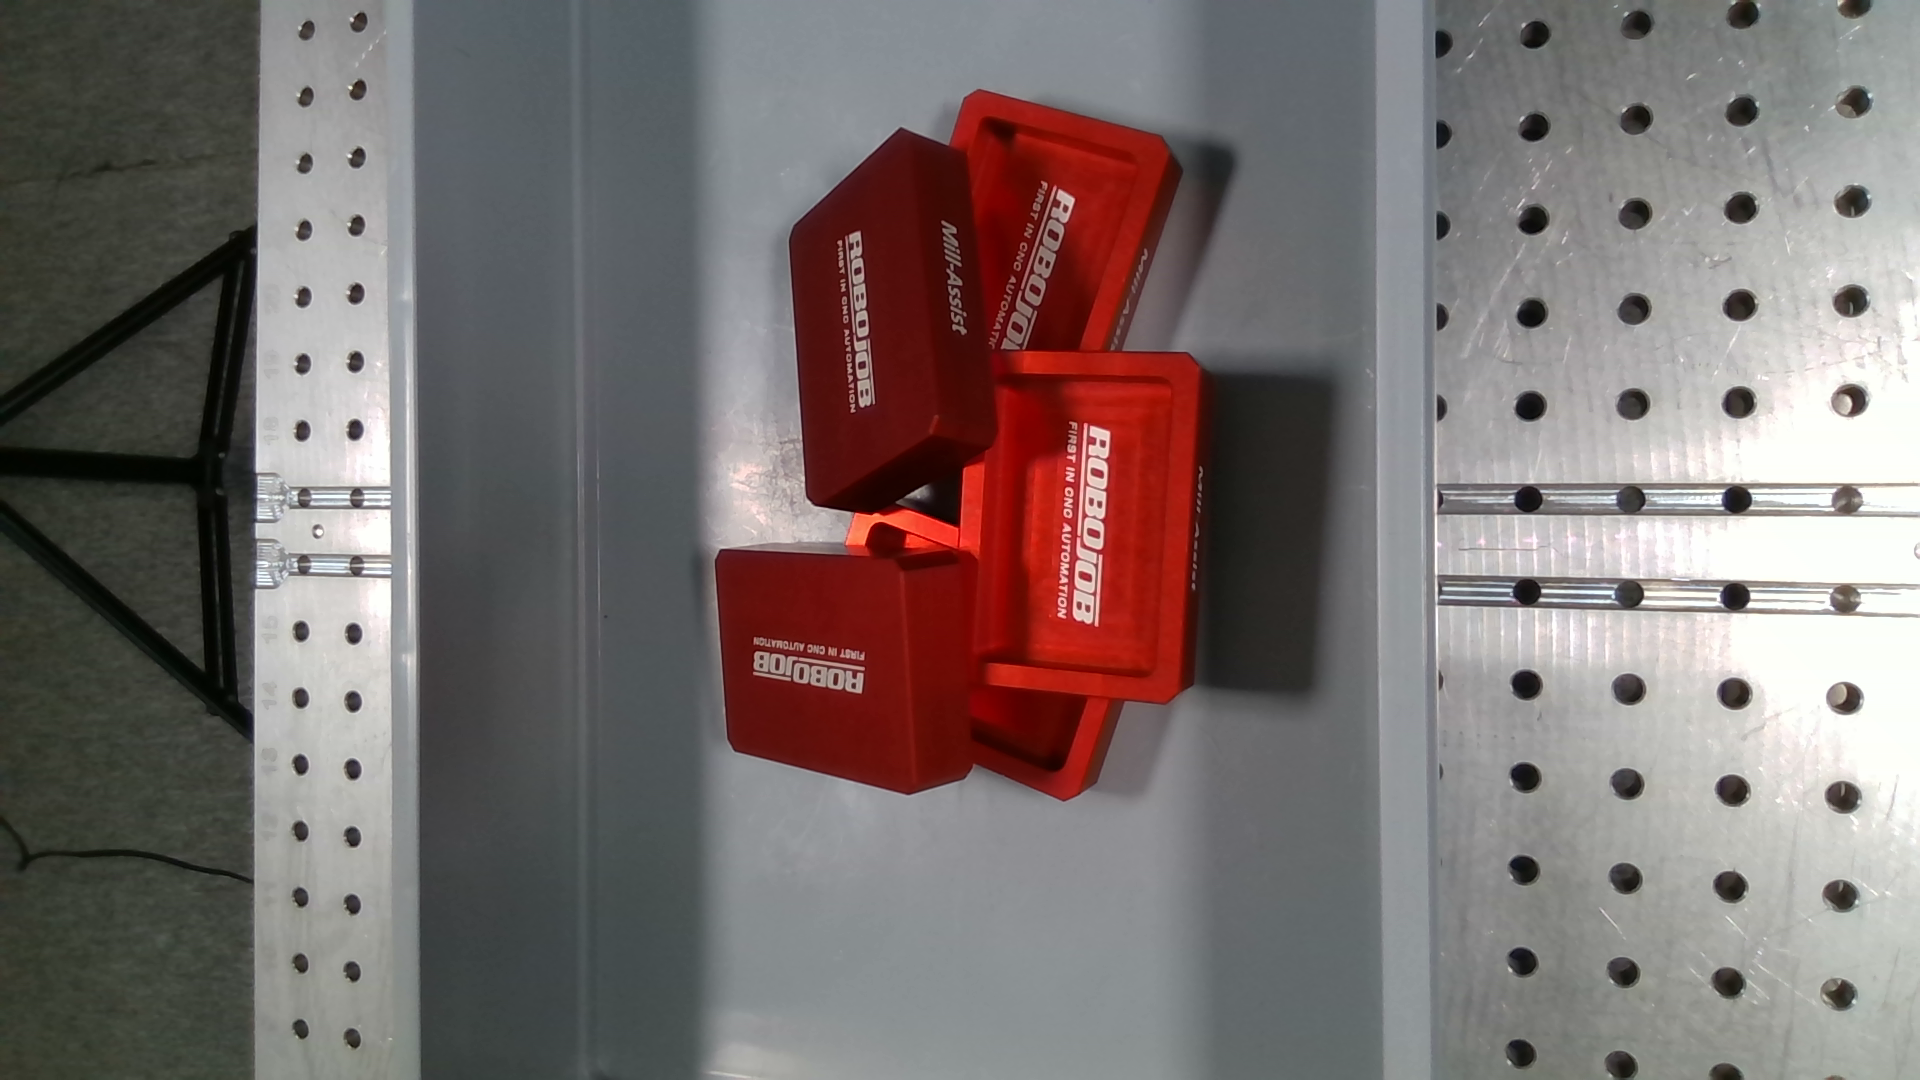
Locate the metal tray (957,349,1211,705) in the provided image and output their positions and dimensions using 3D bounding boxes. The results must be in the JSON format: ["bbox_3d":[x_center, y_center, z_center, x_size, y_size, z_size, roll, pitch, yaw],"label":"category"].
[{"bbox_3d":[0.047,-0.006,0.532,0.090,0.030,0.130,4,92,20],"label":"metal tray"}]

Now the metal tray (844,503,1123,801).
[{"bbox_3d":[0.007,0.043,0.579,0.130,0.030,0.090,20,97,19],"label":"metal tray"}]

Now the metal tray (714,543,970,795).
[{"bbox_3d":[-0.052,0.048,0.567,0.130,0.030,0.090,2,98,49],"label":"metal tray"}]

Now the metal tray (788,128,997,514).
[{"bbox_3d":[-0.030,-0.086,0.556,0.090,0.030,0.130,-27,63,47],"label":"metal tray"}]

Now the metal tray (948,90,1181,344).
[{"bbox_3d":[0.027,-0.109,0.569,0.090,0.030,0.130,21,98,19],"label":"metal tray"}]
